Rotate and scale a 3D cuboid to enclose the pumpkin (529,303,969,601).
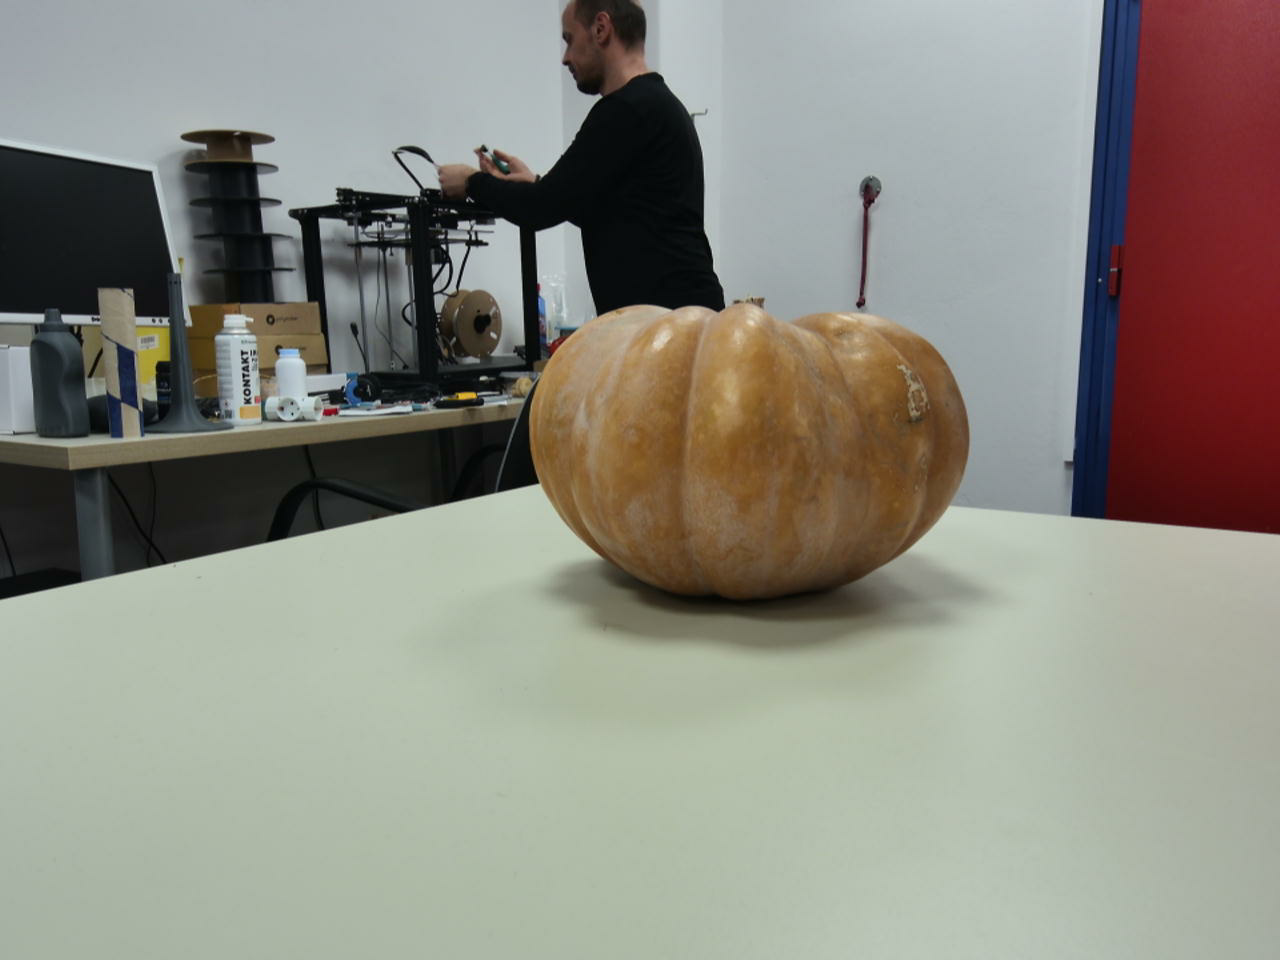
[{"bbox_3d":[0.062,-0.024,0.636,0.277,0.181,0.277,0,7,0],"label":"pumpkin"}]
